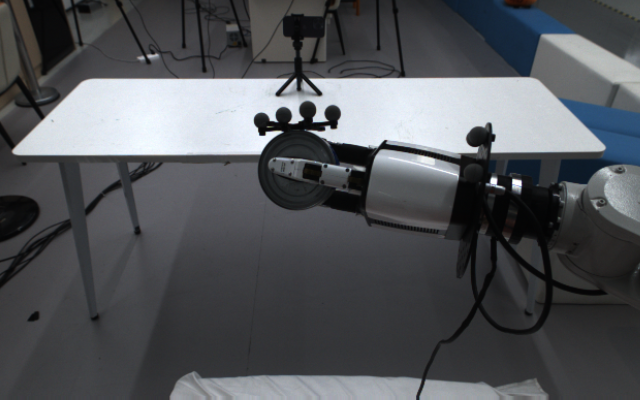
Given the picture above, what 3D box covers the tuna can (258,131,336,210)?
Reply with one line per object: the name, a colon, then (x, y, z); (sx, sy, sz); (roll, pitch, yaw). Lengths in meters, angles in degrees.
tuna can: (-0.019, -0.028, 0.524); (0.085, 0.085, 0.034); (10, 3, 11)
